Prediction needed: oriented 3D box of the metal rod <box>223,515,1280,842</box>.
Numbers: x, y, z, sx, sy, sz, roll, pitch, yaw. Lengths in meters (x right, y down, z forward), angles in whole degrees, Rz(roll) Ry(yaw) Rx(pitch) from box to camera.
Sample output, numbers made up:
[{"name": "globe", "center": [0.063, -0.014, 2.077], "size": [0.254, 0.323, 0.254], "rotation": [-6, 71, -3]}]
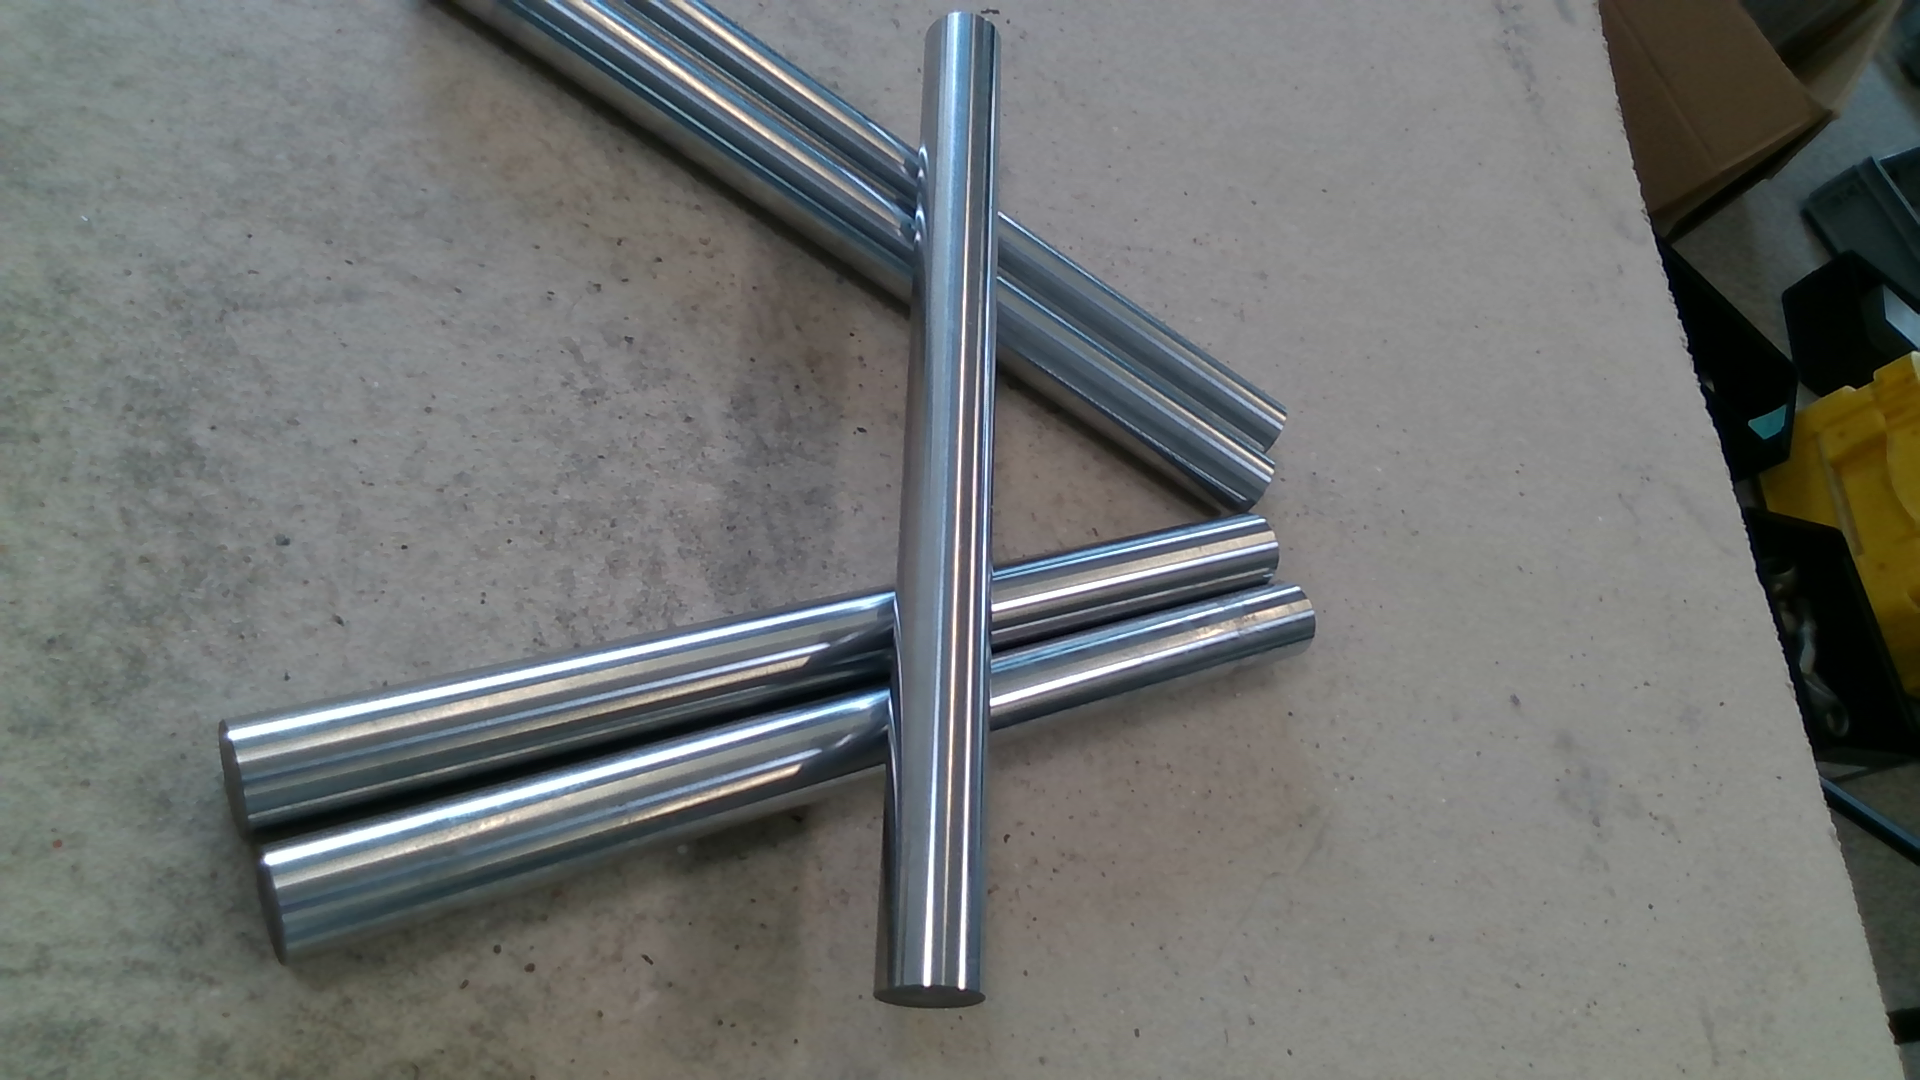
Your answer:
[{"name": "metal rod", "center": [-0.026, 0.026, 0.364], "size": [0.300, 0.025, 0.025], "rotation": [-11, 71, -35]}]

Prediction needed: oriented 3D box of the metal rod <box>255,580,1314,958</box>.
[{"name": "metal rod", "center": [-0.016, 0.048, 0.359], "size": [0.300, 0.025, 0.025], "rotation": [-11, 71, -35]}]

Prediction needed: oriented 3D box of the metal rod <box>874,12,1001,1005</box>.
[{"name": "metal rod", "center": [-0.003, -0.030, 0.375], "size": [0.025, 0.025, 0.299], "rotation": [16, 58, -24]}]

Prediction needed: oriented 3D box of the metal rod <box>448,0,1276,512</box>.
[{"name": "metal rod", "center": [-0.026, -0.095, 0.428], "size": [0.300, 0.025, 0.025], "rotation": [32, 53, -14]}]

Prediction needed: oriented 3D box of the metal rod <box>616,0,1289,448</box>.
[{"name": "metal rod", "center": [-0.018, -0.114, 0.442], "size": [0.300, 0.025, 0.025], "rotation": [32, 53, -13]}]
